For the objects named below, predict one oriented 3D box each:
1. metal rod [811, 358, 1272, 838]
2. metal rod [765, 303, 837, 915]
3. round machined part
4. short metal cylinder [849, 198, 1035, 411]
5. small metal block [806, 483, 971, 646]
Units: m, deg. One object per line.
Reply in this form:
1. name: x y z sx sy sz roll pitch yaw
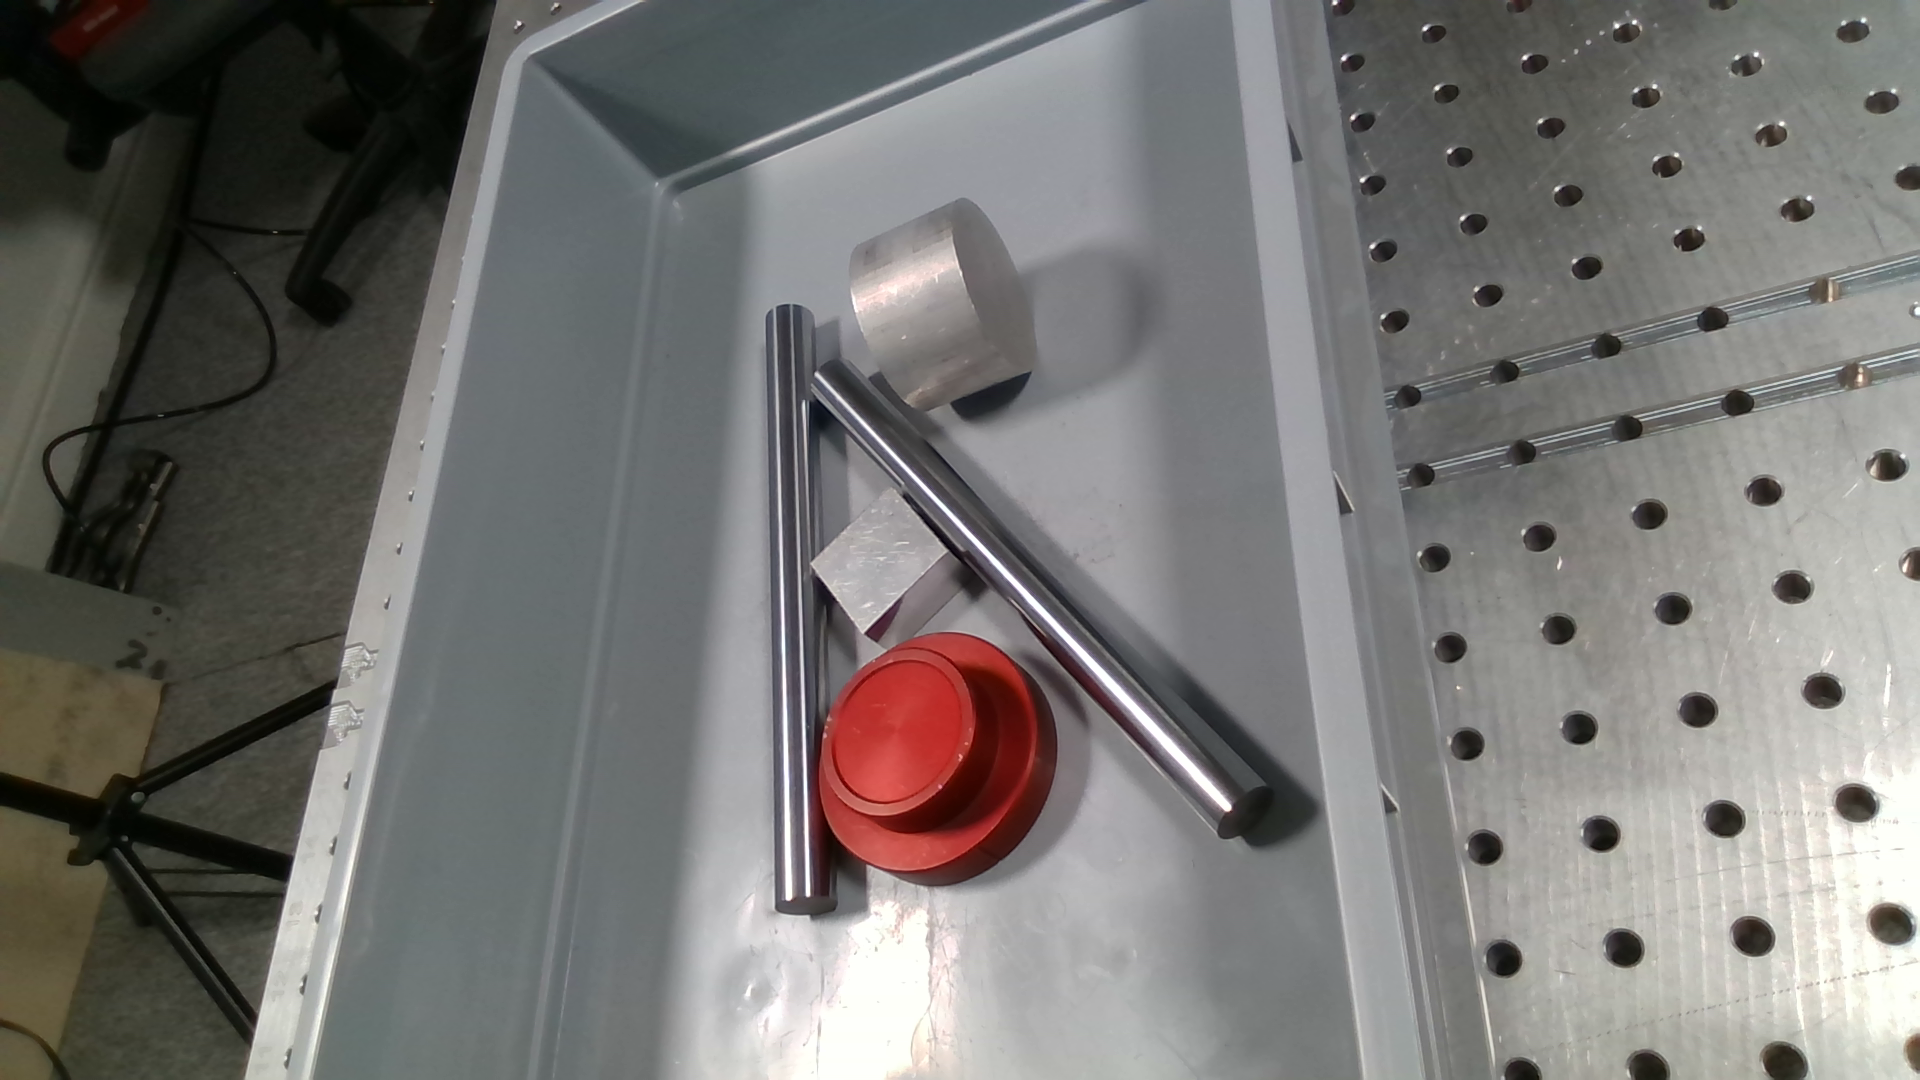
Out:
1. metal rod: 0.019 0.008 0.568 0.025 0.025 0.299 -45 51 3
2. metal rod: -0.074 0.017 0.621 0.025 0.025 0.299 -19 57 22
3. round machined part: -0.016 0.081 0.538 0.098 0.042 0.098 -14 59 25
4. short metal cylinder: -0.006 -0.103 0.608 0.050 0.080 0.080 -19 57 22
5. small metal block: -0.031 0.012 0.596 0.050 0.025 0.050 -44 51 4
